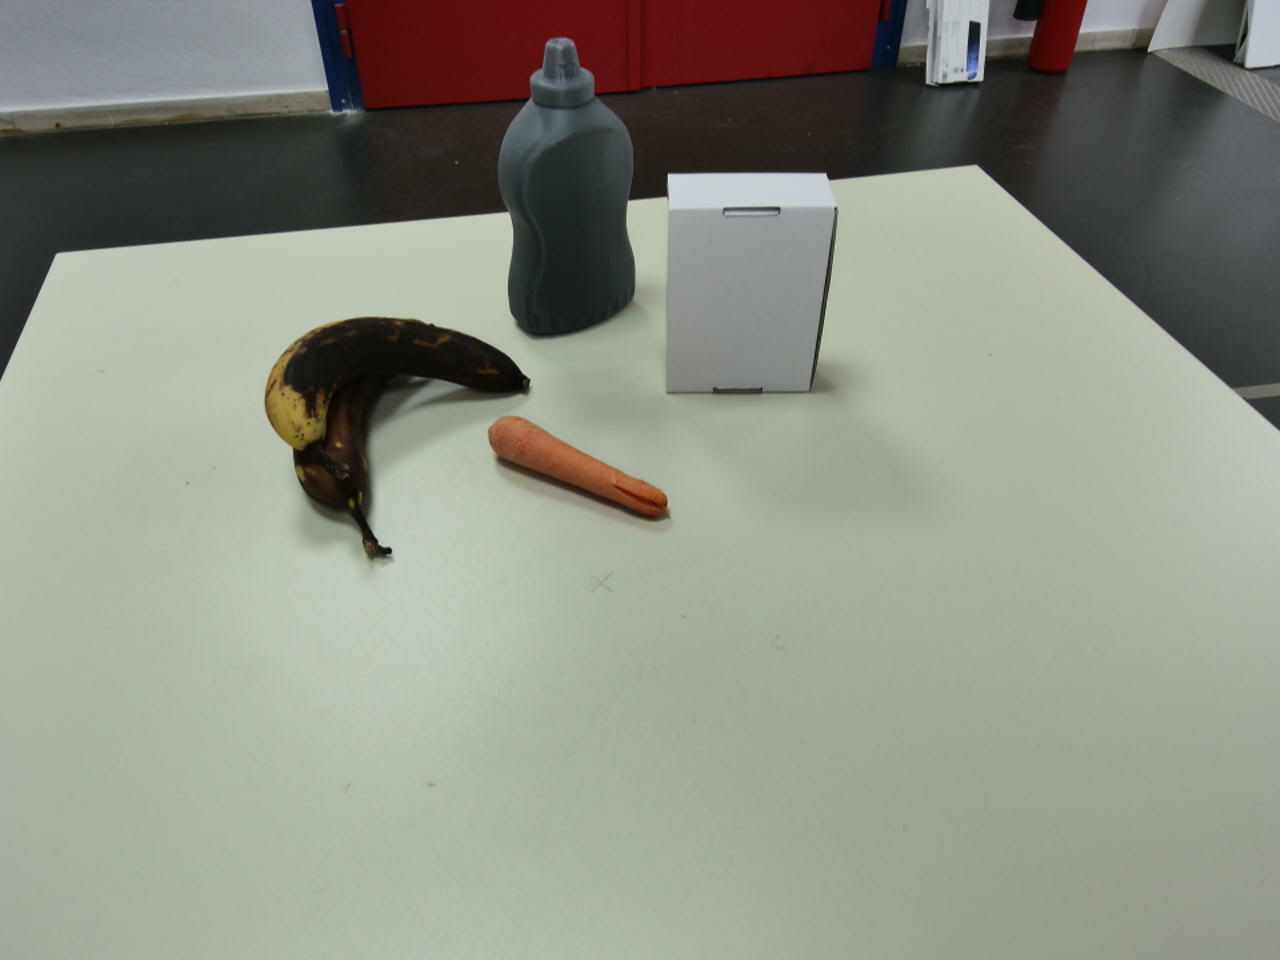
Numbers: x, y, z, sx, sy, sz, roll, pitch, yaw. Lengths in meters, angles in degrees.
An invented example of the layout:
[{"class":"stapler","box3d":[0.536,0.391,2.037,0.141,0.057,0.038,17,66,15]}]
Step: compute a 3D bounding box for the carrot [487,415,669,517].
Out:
[{"class":"carrot","box3d":[-0.041,-0.009,0.632,0.136,0.032,0.030,22,44,25]}]
